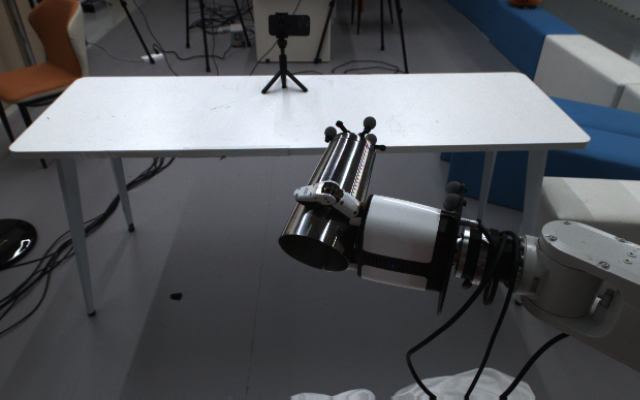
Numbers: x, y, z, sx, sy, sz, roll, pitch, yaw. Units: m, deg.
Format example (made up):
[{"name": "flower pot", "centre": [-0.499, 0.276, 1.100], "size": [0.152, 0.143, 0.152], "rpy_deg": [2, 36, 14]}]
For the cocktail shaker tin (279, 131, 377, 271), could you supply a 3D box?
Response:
[{"name": "cocktail shaker tin", "centre": [0.018, -0.003, 0.632], "size": [0.093, 0.093, 0.170], "rpy_deg": [14, 60, 16]}]
